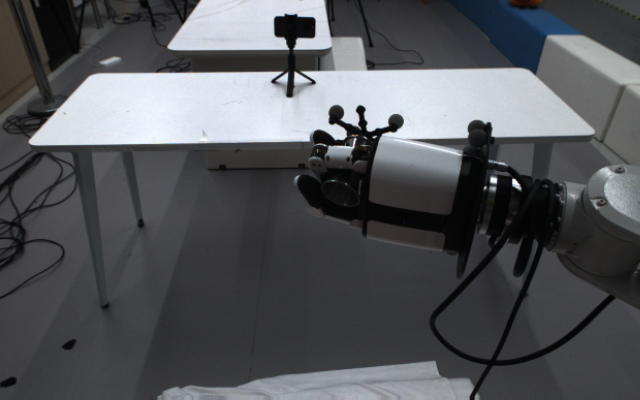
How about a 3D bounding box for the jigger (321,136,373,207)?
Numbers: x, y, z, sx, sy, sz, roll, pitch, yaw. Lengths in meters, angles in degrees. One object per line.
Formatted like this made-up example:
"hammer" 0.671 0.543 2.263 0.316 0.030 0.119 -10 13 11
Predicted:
"jigger" 0.033 -0.034 0.524 0.043 0.043 0.071 13 58 15
